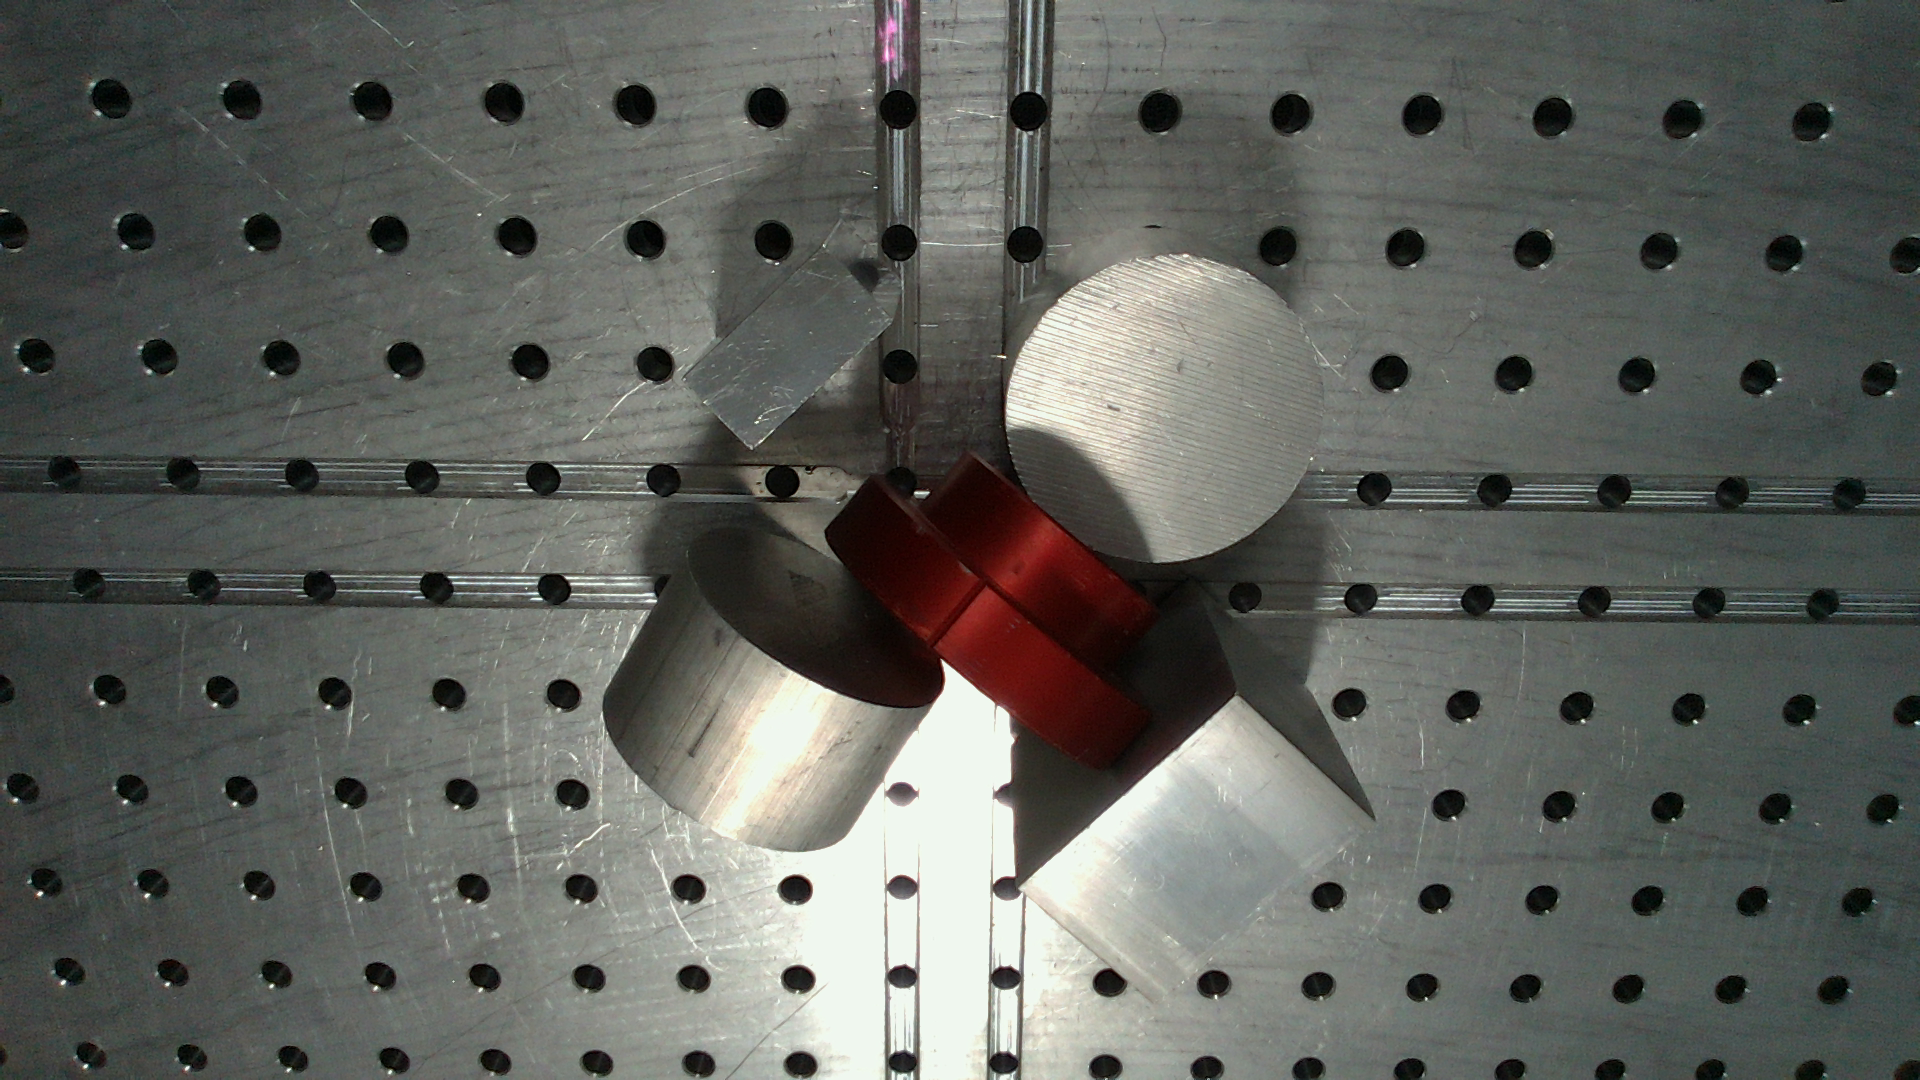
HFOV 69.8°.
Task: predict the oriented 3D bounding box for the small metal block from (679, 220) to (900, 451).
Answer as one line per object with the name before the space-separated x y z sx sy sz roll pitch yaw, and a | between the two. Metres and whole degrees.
small metal block | -0.043 -0.056 0.362 0.050 0.050 0.025 -40 105 13

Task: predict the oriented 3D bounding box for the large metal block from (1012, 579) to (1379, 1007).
large metal block | 0.062 0.069 0.393 0.050 0.080 0.080 41 105 -14

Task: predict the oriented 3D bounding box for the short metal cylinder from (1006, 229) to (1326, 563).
short metal cylinder | 0.052 -0.040 0.368 0.080 0.050 0.080 0 110 0

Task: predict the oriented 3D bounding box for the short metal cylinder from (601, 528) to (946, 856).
short metal cylinder | -0.051 0.041 0.381 0.080 0.080 0.050 29 108 -10

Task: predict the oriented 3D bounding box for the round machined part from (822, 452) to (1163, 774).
round machined part | 0.014 0.014 0.363 0.098 0.098 0.042 39 93 -13
